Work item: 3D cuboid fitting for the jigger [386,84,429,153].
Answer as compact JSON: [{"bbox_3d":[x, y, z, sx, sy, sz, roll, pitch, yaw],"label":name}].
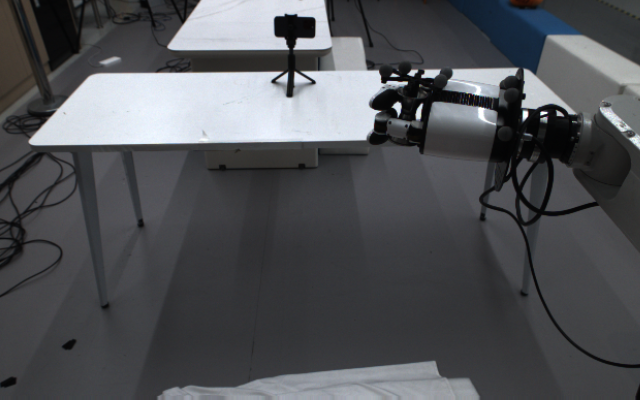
[{"bbox_3d":[0.121,-0.113,0.657,0.043,0.071,0.043,4,31,-2],"label":"jigger"}]
